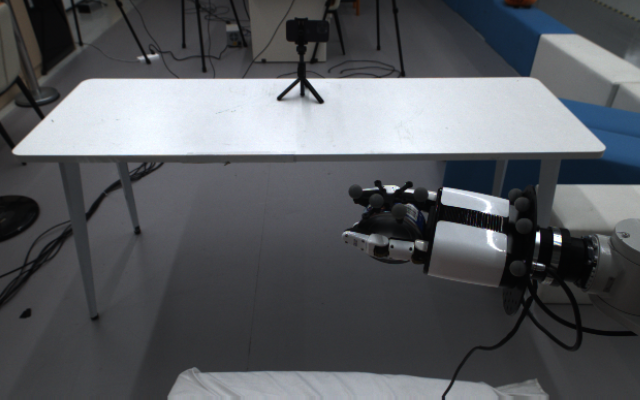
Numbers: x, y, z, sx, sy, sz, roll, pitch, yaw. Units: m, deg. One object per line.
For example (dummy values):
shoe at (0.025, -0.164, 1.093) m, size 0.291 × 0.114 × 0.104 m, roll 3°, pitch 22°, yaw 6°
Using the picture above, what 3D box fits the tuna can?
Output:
tuna can at (0.093, 0.038, 0.616) m, size 0.085 × 0.085 × 0.034 m, roll 12°, pitch 39°, yaw 13°
